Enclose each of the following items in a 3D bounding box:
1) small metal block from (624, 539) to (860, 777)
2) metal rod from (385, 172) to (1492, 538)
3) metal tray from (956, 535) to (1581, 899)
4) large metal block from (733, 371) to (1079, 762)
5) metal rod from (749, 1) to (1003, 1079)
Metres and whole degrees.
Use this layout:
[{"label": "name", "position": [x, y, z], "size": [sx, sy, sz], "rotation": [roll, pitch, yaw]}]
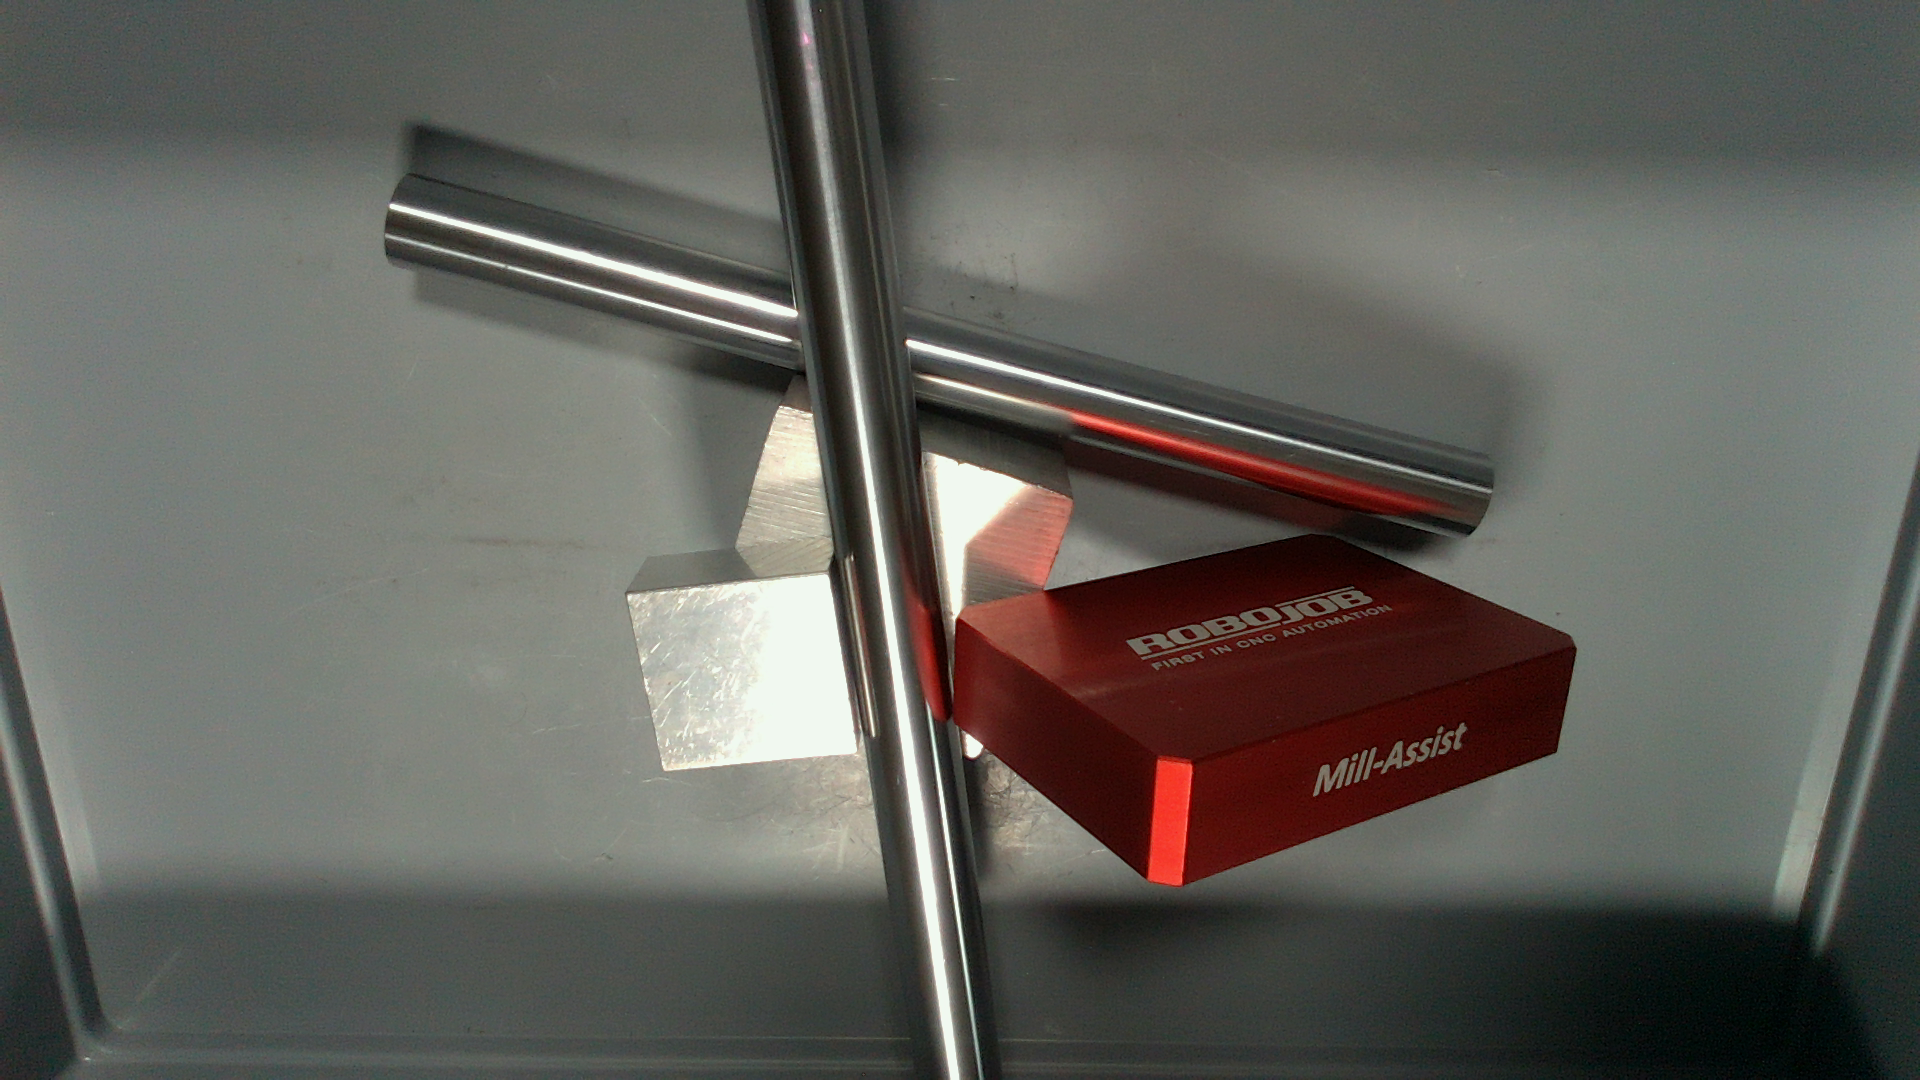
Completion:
[{"label": "small metal block", "position": [-0.053, 0.029, 0.350], "size": [0.050, 0.025, 0.050], "rotation": [-6, 110, 2]}, {"label": "metal rod", "position": [-0.001, -0.048, 0.376], "size": [0.300, 0.025, 0.025], "rotation": [14, 110, -5]}, {"label": "metal tray", "position": [0.076, 0.037, 0.344], "size": [0.130, 0.090, 0.030], "rotation": [-11, 114, -30]}, {"label": "large metal block", "position": [-0.020, 0.005, 0.382], "size": [0.080, 0.050, 0.080], "rotation": [17, 109, -6]}, {"label": "metal rod", "position": [-0.016, 0.019, 0.347], "size": [0.025, 0.025, 0.300], "rotation": [-6, 110, 2]}]
